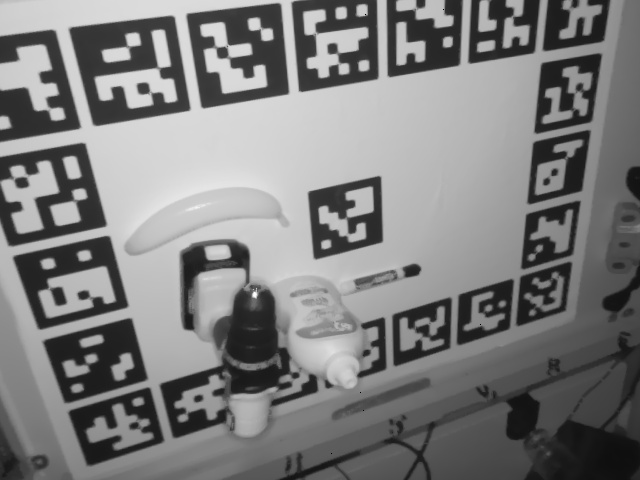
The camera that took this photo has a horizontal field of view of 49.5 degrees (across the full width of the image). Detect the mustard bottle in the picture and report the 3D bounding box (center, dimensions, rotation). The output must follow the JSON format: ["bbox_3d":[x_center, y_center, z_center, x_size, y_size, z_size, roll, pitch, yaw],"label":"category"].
[{"bbox_3d":[0.016,0.109,0.844,0.097,0.191,0.058,-1,115,-19],"label":"mustard bottle"}]

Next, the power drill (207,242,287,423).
[{"bbox_3d":[-0.083,0.079,0.771,0.058,0.187,0.183,2,116,-19],"label":"power drill"}]

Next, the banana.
[{"bbox_3d":[-0.108,-0.041,0.816,0.200,0.038,0.073,-5,114,-21],"label":"banana"}]

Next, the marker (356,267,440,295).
[{"bbox_3d":[0.110,0.057,0.957,0.122,0.019,0.019,-10,117,-17],"label":"marker"}]
